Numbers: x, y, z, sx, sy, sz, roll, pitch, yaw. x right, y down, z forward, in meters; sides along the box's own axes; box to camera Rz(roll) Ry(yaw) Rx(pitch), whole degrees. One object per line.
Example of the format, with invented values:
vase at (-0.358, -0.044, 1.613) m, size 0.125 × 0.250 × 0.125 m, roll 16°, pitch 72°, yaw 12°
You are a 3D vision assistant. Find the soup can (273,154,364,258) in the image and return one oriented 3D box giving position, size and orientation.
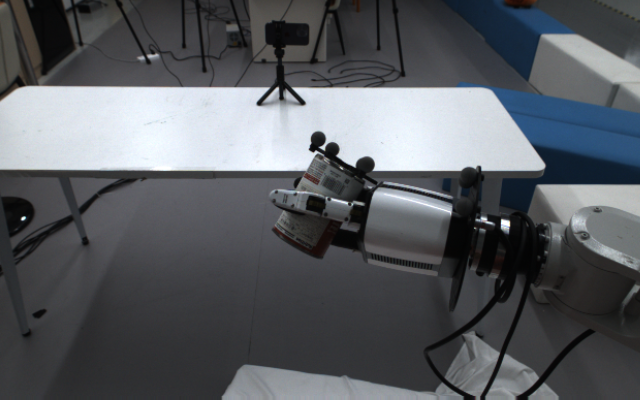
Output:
soup can at (0.000, 0.007, 0.555) m, size 0.067 × 0.101 × 0.067 m, roll 30°, pitch 2°, yaw -1°
